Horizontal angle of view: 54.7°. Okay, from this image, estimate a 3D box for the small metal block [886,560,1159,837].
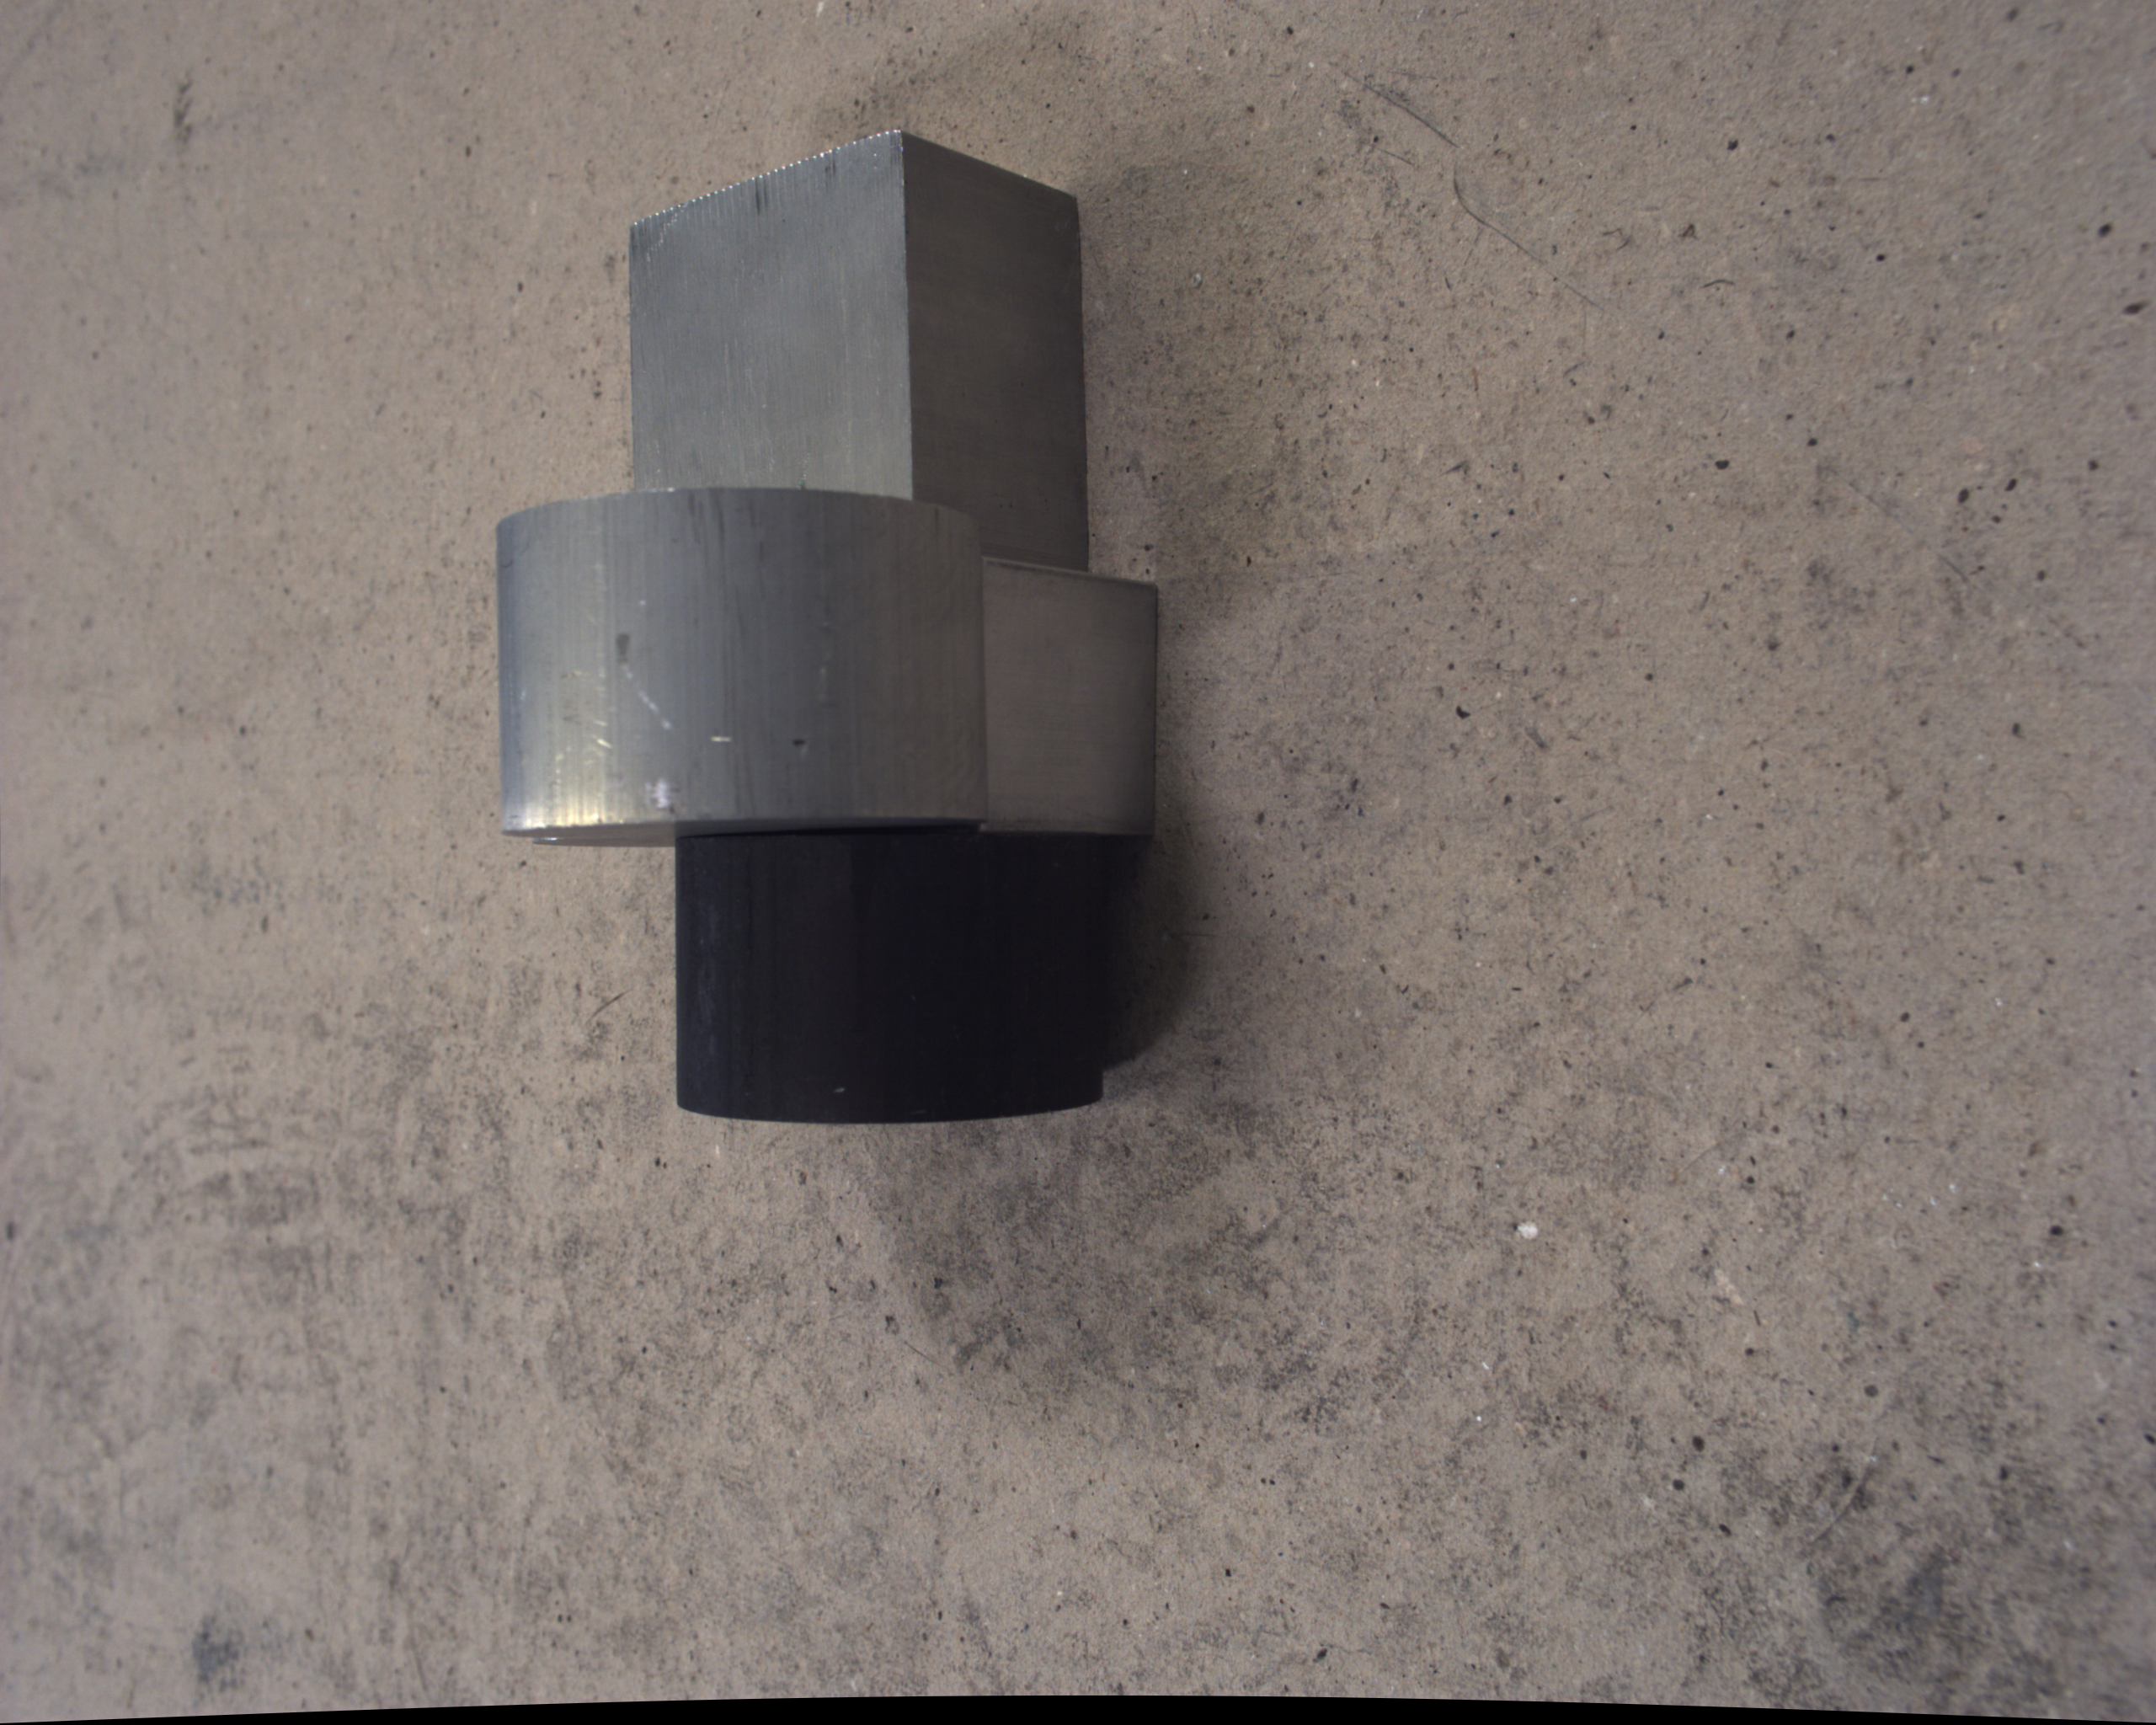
[{"bbox_3d":[-0.010,-0.030,0.401,0.025,0.050,0.050,1,91,40],"label":"small metal block"}]

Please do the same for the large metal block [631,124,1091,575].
[{"bbox_3d":[-0.045,-0.095,0.429,0.080,0.050,0.080,-2,89,40],"label":"large metal block"}]

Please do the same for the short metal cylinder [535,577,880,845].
[{"bbox_3d":[-0.071,-0.030,0.430,0.080,0.081,0.050,-3,89,40],"label":"short metal cylinder"}]

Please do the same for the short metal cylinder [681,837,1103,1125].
[{"bbox_3d":[-0.035,0.020,0.401,0.080,0.081,0.050,0,90,40],"label":"short metal cylinder"}]

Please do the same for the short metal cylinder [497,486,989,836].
[{"bbox_3d":[-0.056,-0.031,0.352,0.080,0.081,0.050,-3,89,40],"label":"short metal cylinder"}]
